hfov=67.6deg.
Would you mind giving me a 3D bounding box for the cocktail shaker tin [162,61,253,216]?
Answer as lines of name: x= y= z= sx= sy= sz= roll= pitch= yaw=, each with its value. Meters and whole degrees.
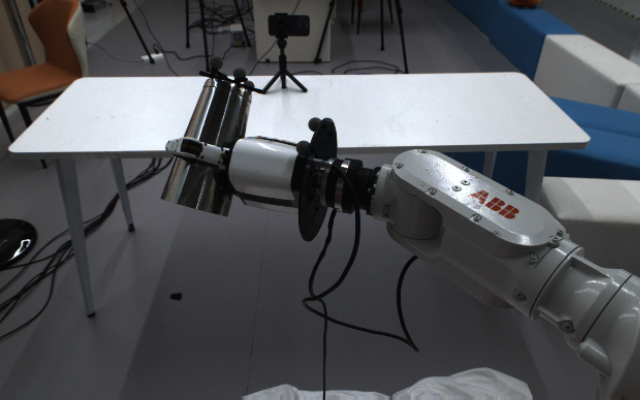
cocktail shaker tin: x=-0.146 y=-0.070 z=0.654 sx=0.093 sy=0.170 sz=0.093 roll=15 pitch=-4 yaw=1
